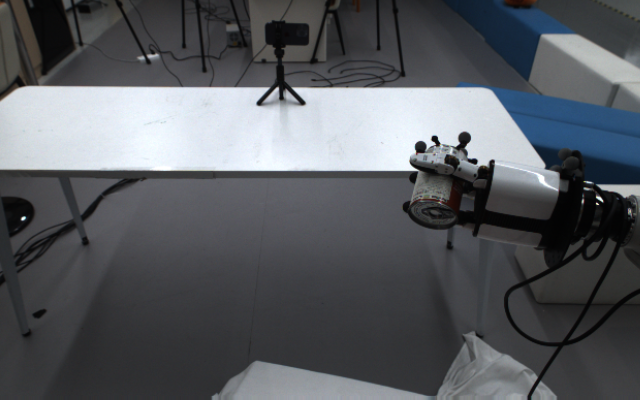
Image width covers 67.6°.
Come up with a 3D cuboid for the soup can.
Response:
[{"bbox_3d":[0.167,-0.022,0.679,0.067,0.067,0.101,12,59,14],"label":"soup can"}]
